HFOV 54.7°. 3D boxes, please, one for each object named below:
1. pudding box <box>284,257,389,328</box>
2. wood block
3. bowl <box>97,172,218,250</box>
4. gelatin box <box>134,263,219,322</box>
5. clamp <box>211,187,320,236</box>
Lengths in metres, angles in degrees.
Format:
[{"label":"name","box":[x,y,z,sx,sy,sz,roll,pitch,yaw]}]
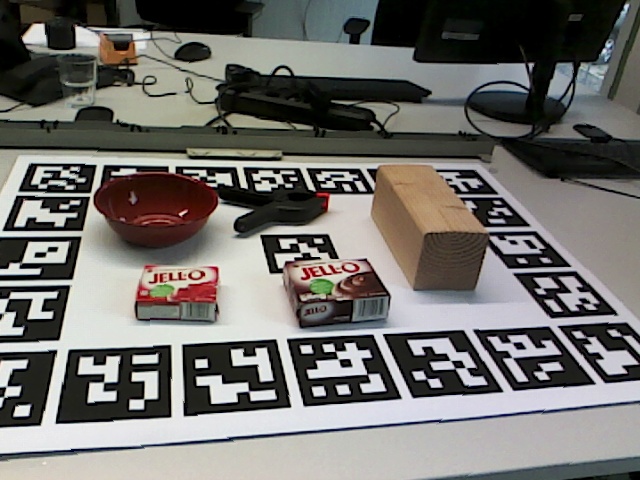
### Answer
[{"label":"pudding box","box":[0.017,0.063,0.758,0.113,0.038,0.090,-3,36,-12]},{"label":"wood block","box":[0.151,-0.023,0.875,0.089,0.091,0.207,2,32,-12]},{"label":"bowl","box":[-0.224,-0.035,0.862,0.161,0.055,0.162,6,34,-5]},{"label":"gelatin box","box":[-0.167,0.060,0.728,0.089,0.030,0.073,4,33,-6]},{"label":"clamp","box":[-0.077,-0.049,0.938,0.164,0.036,0.122,-5,33,-23]}]
